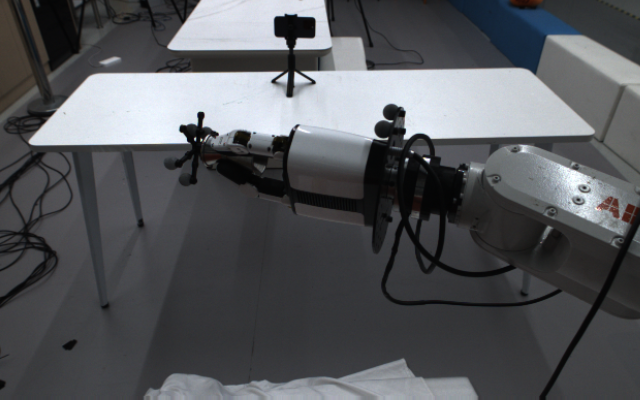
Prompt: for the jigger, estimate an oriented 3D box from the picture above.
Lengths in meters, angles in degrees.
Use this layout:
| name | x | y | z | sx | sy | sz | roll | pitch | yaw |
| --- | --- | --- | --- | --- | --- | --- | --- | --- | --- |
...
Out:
| name | x | y | z | sx | sy | sz | roll | pitch | yaw |
| --- | --- | --- | --- | --- | --- | --- | --- | --- | --- |
| jigger | -0.098 | -0.059 | 0.572 | 0.071 | 0.043 | 0.043 | 9 | 35 | 16 |
